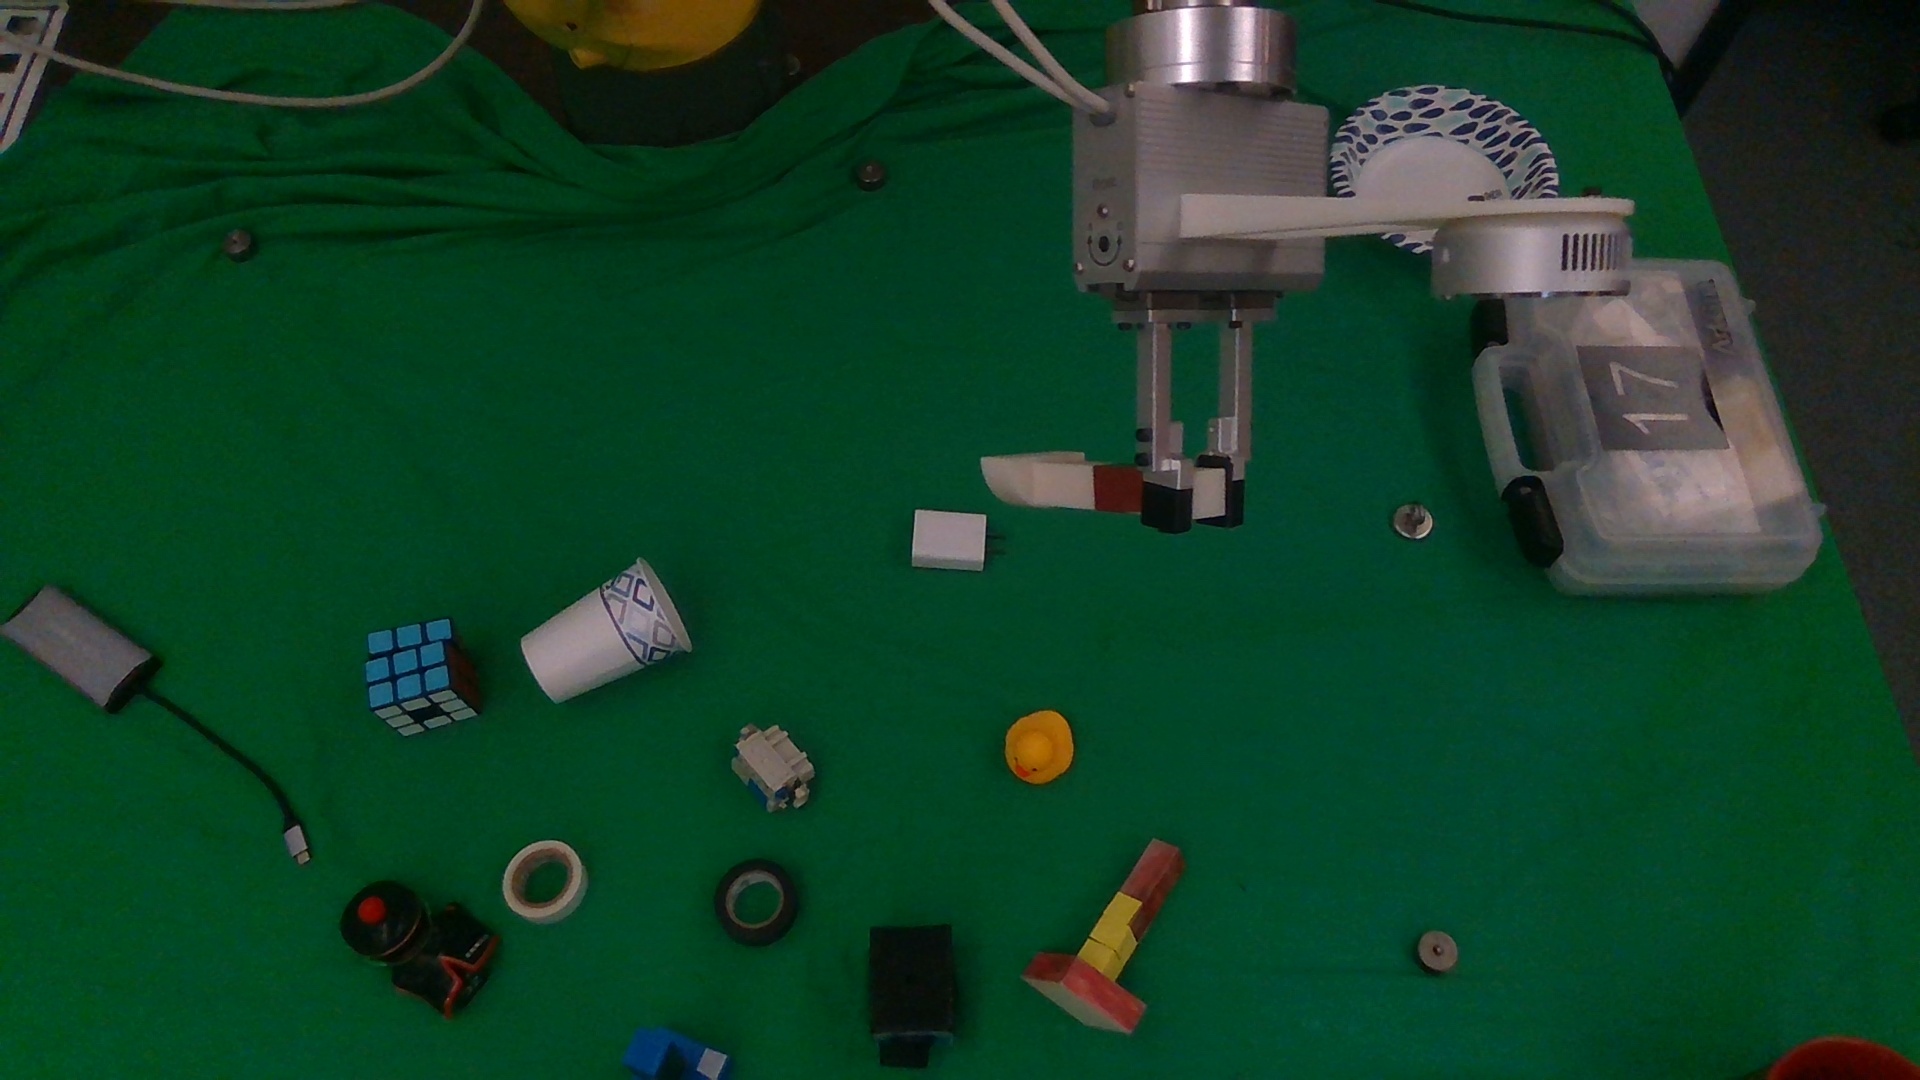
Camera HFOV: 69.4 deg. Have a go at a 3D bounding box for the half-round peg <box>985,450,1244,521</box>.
[{"bbox_3d":[0.070,-0.024,0.612,0.054,0.122,0.031,-13,100,-40],"label":"half-round peg"}]

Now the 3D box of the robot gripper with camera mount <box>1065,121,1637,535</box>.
[{"bbox_3d":[0.150,-0.078,0.508,0.118,0.194,0.158,-8,99,-39],"label":"robot gripper with camera mount"}]
